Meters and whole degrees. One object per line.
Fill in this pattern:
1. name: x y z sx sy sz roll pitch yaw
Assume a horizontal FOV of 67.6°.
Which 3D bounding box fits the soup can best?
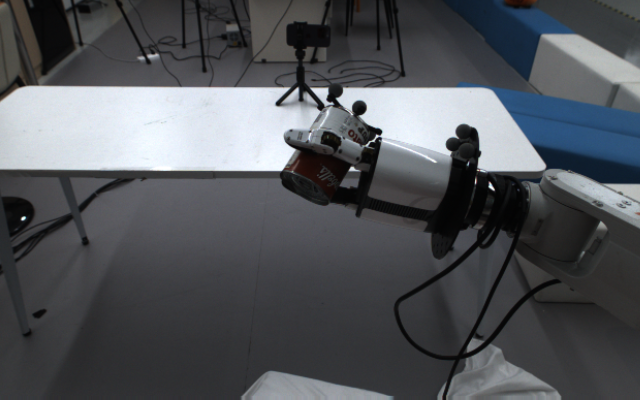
1. soup can: 0.008 -0.053 0.574 0.067 0.067 0.101 22 71 26
